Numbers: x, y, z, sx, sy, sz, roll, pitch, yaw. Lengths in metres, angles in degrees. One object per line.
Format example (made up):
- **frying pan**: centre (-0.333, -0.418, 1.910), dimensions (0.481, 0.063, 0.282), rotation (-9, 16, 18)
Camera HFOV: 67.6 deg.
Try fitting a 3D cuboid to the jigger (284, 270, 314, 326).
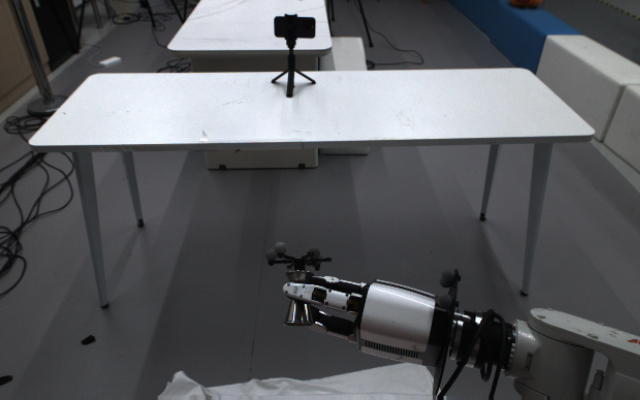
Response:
- **jigger**: centre (-0.027, 0.130, 0.646), dimensions (0.043, 0.043, 0.071), rotation (1, 70, -2)
